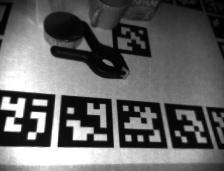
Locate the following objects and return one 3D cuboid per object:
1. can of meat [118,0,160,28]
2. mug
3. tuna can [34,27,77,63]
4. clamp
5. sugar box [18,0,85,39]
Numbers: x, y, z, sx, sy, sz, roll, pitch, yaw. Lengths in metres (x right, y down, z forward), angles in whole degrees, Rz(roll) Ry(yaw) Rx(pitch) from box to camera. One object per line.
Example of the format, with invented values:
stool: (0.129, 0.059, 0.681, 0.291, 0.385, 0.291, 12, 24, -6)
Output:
can of meat: (0.066, -0.194, 0.551, 0.103, 0.083, 0.057, -4, 64, -22)
mug: (-0.025, -0.158, 0.492, 0.093, 0.081, 0.117, 26, 60, -5)
tuna can: (-0.118, -0.087, 0.455, 0.086, 0.033, 0.085, 8, 64, -15)
clamp: (-0.041, -0.031, 0.458, 0.165, 0.036, 0.122, 36, 54, -3)
sugar box: (-0.116, -0.175, 0.474, 0.178, 0.092, 0.045, -35, 76, -31)
